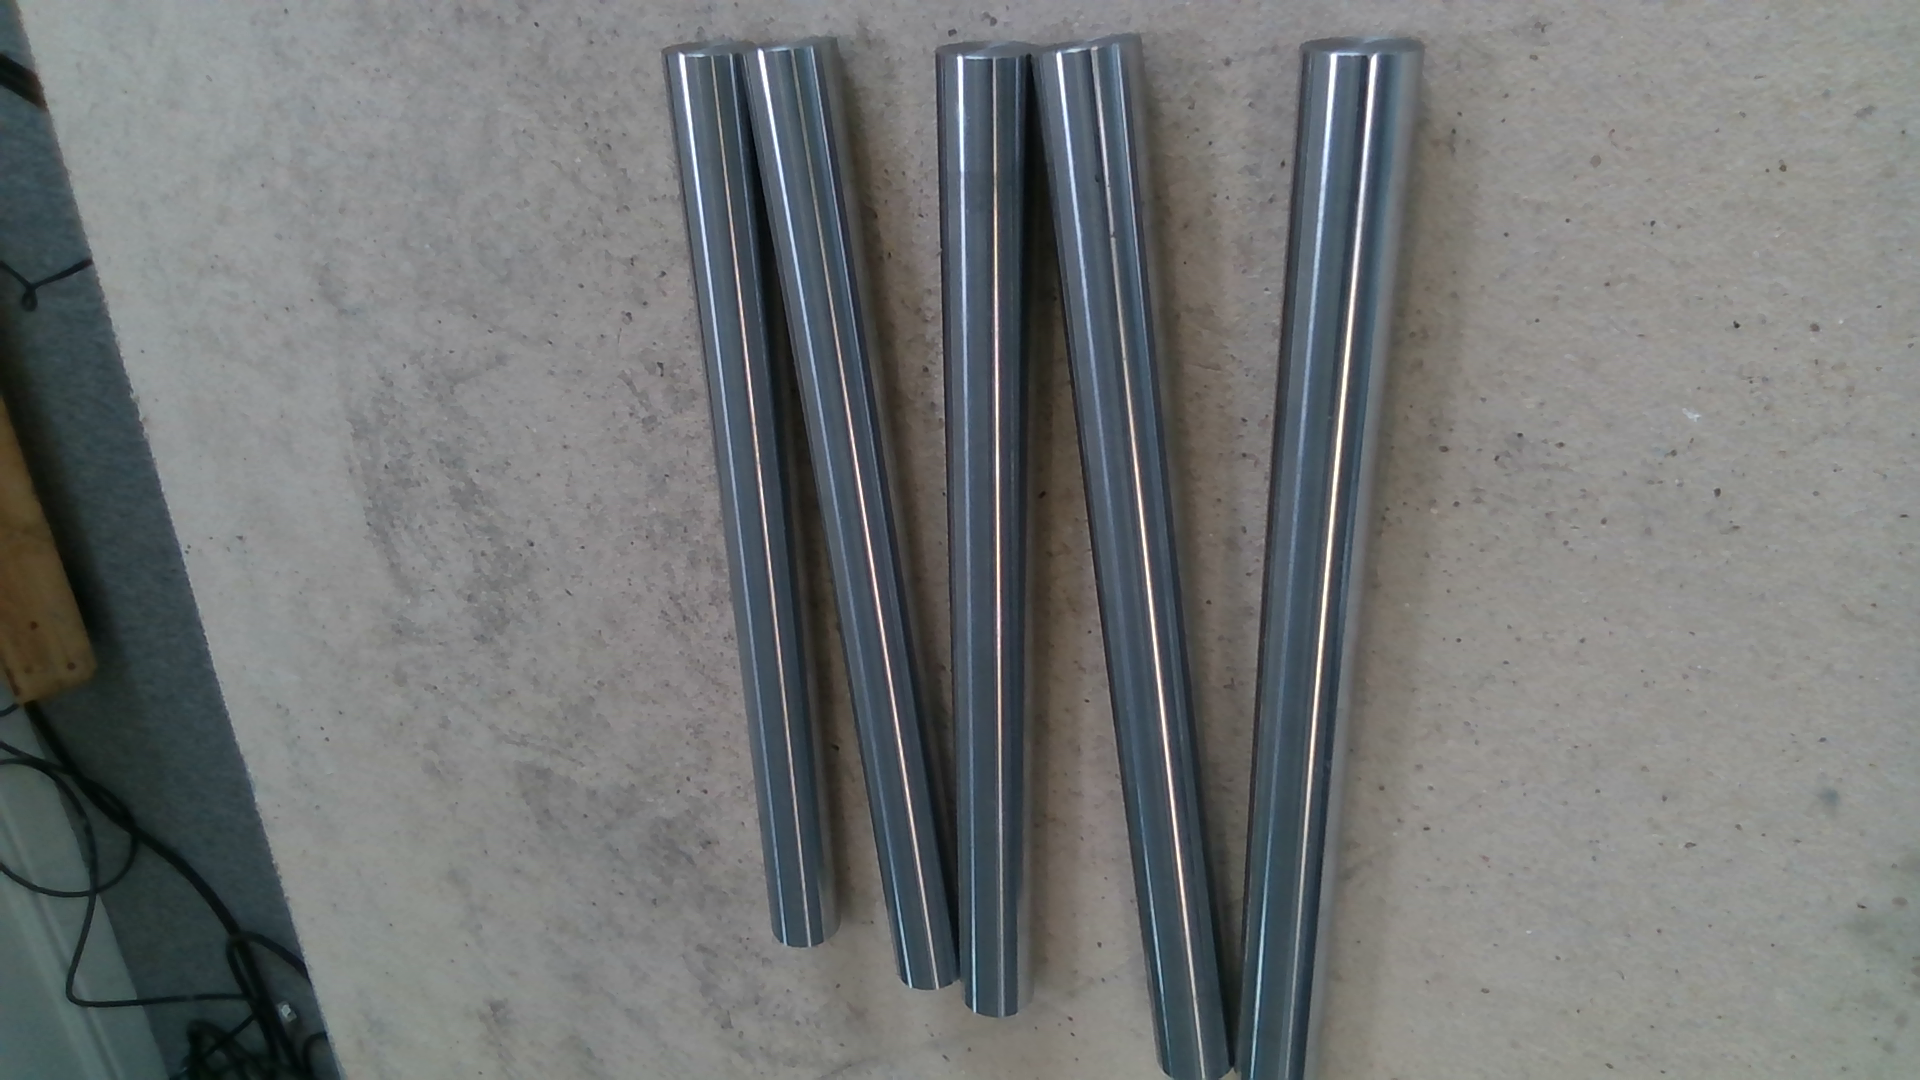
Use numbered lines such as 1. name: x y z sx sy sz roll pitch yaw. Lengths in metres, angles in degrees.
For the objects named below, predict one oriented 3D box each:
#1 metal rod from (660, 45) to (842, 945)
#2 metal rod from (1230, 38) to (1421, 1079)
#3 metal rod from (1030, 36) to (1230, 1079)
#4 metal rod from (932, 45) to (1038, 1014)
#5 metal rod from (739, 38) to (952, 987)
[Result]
1. metal rod: -0.060 0.005 0.429 0.025 0.025 0.301 13 121 26
2. metal rod: 0.089 0.032 0.352 0.025 0.025 0.301 12 121 26
3. metal rod: 0.051 0.024 0.371 0.025 0.025 0.301 5 118 30
4. metal rod: 0.009 0.018 0.393 0.025 0.025 0.301 13 122 25
5. metal rod: -0.026 0.010 0.411 0.025 0.025 0.301 7 119 28
